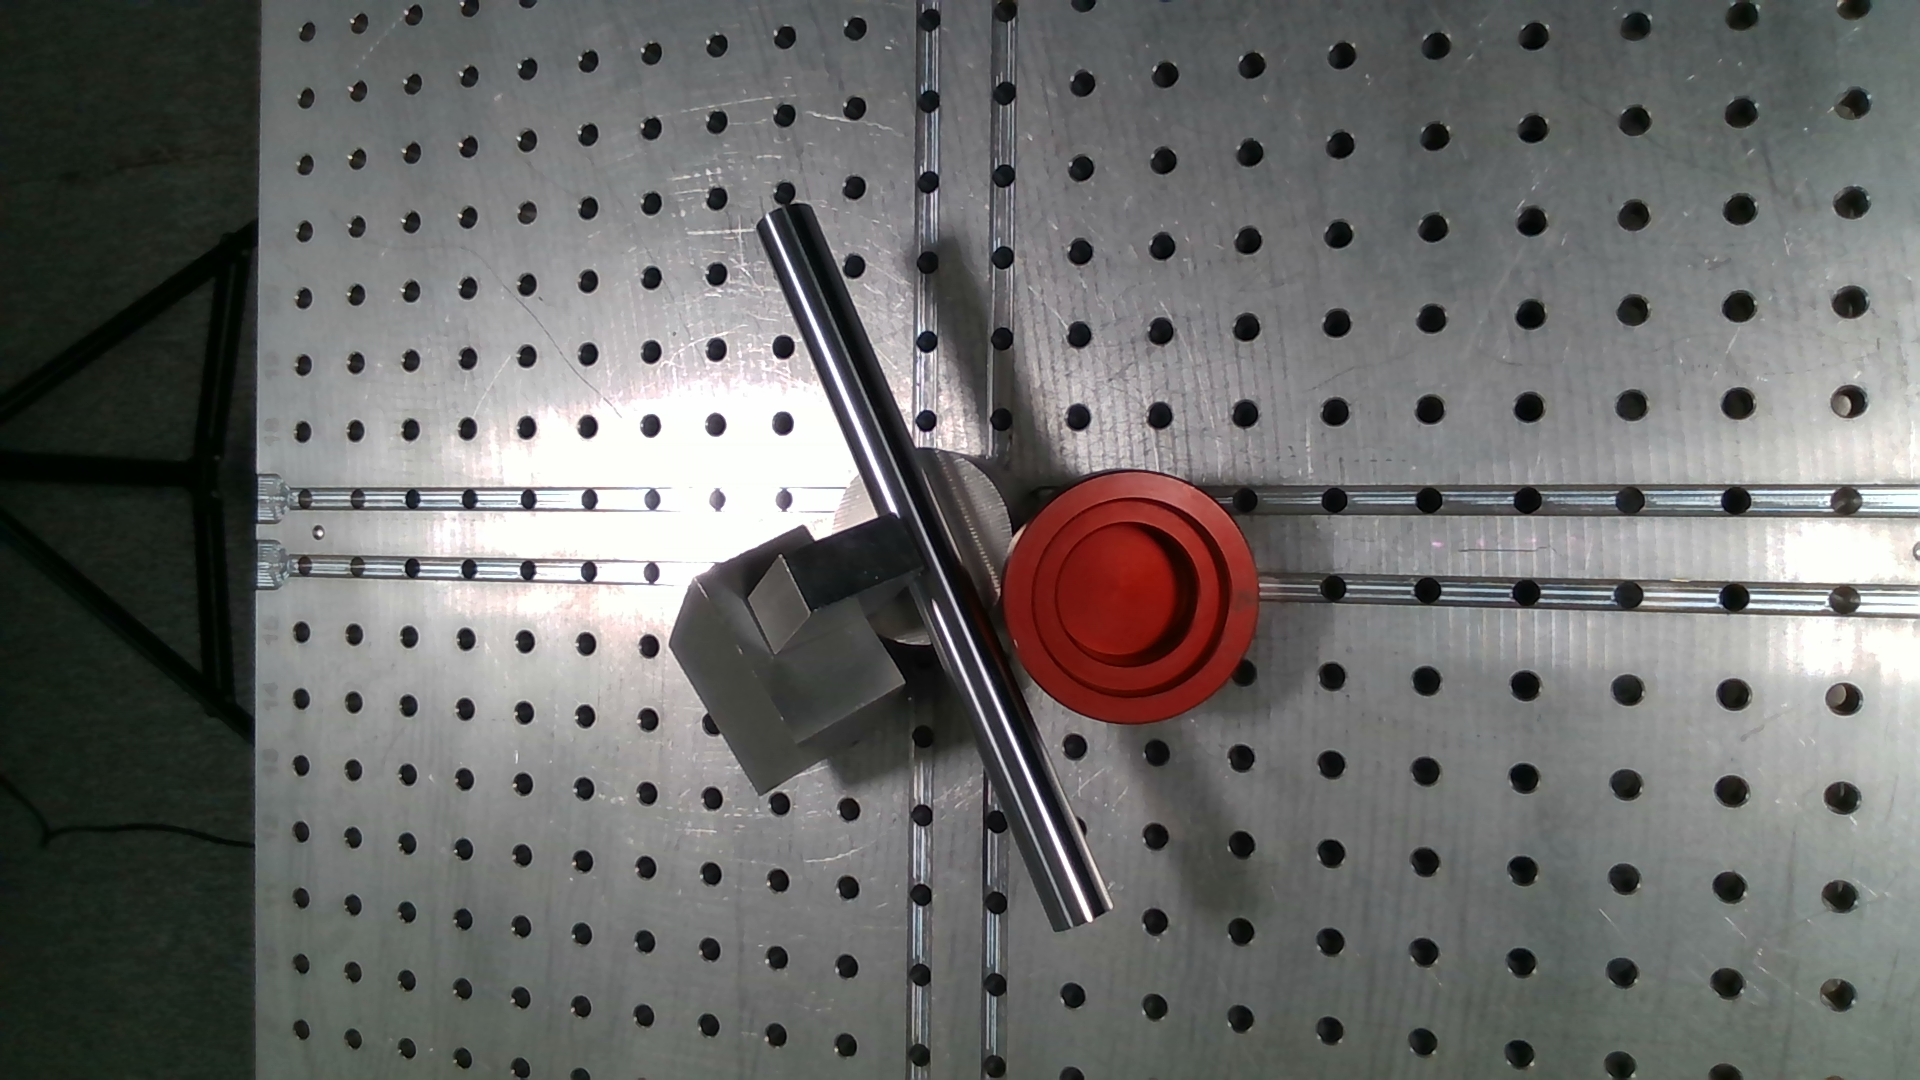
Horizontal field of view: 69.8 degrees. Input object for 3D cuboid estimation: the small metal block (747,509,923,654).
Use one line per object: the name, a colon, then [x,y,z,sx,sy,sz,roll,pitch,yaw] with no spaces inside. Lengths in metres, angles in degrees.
small metal block: [-0.049,0.016,0.528,0.025,0.050,0.050,62,150,10]

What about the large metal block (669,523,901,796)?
large metal block: [-0.077,0.052,0.579,0.080,0.050,0.080,56,152,11]

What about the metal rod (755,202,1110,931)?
metal rod: [-0.013,0.006,0.539,0.025,0.025,0.300,-26,82,19]

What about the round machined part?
round machined part: [0.064,0.020,0.543,0.098,0.042,0.098,0,96,-2]

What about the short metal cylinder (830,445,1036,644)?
short metal cylinder: [-0.008,0.002,0.577,0.080,0.050,0.080,0,90,20]
